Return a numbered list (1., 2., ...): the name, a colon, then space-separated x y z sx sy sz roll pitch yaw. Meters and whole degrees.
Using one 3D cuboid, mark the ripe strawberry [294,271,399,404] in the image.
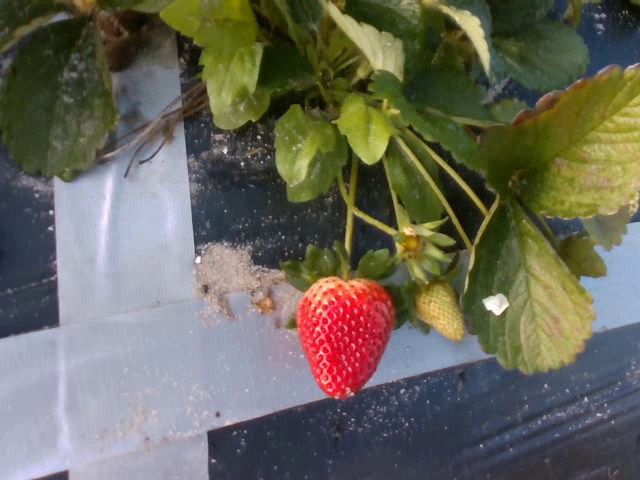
1. ripe strawberry: 0.005 0.019 0.122 0.023 0.026 0.021 3 -33 6
